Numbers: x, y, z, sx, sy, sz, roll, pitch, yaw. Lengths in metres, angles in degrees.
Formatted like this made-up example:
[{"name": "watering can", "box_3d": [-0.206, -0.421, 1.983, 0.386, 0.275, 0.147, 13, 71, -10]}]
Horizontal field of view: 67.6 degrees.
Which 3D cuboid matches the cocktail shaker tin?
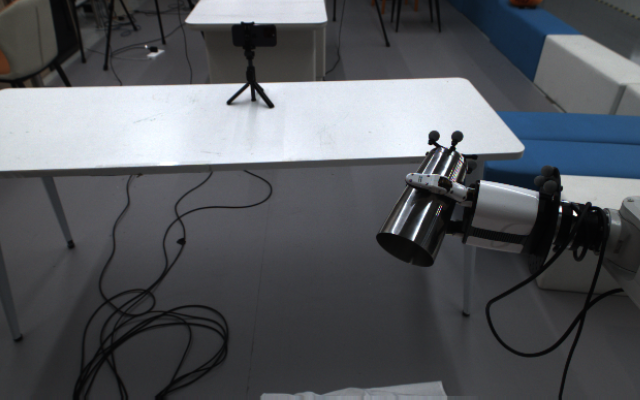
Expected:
[{"name": "cocktail shaker tin", "box_3d": [0.164, 0.000, 0.734, 0.093, 0.093, 0.170, 20, 67, 23]}]
